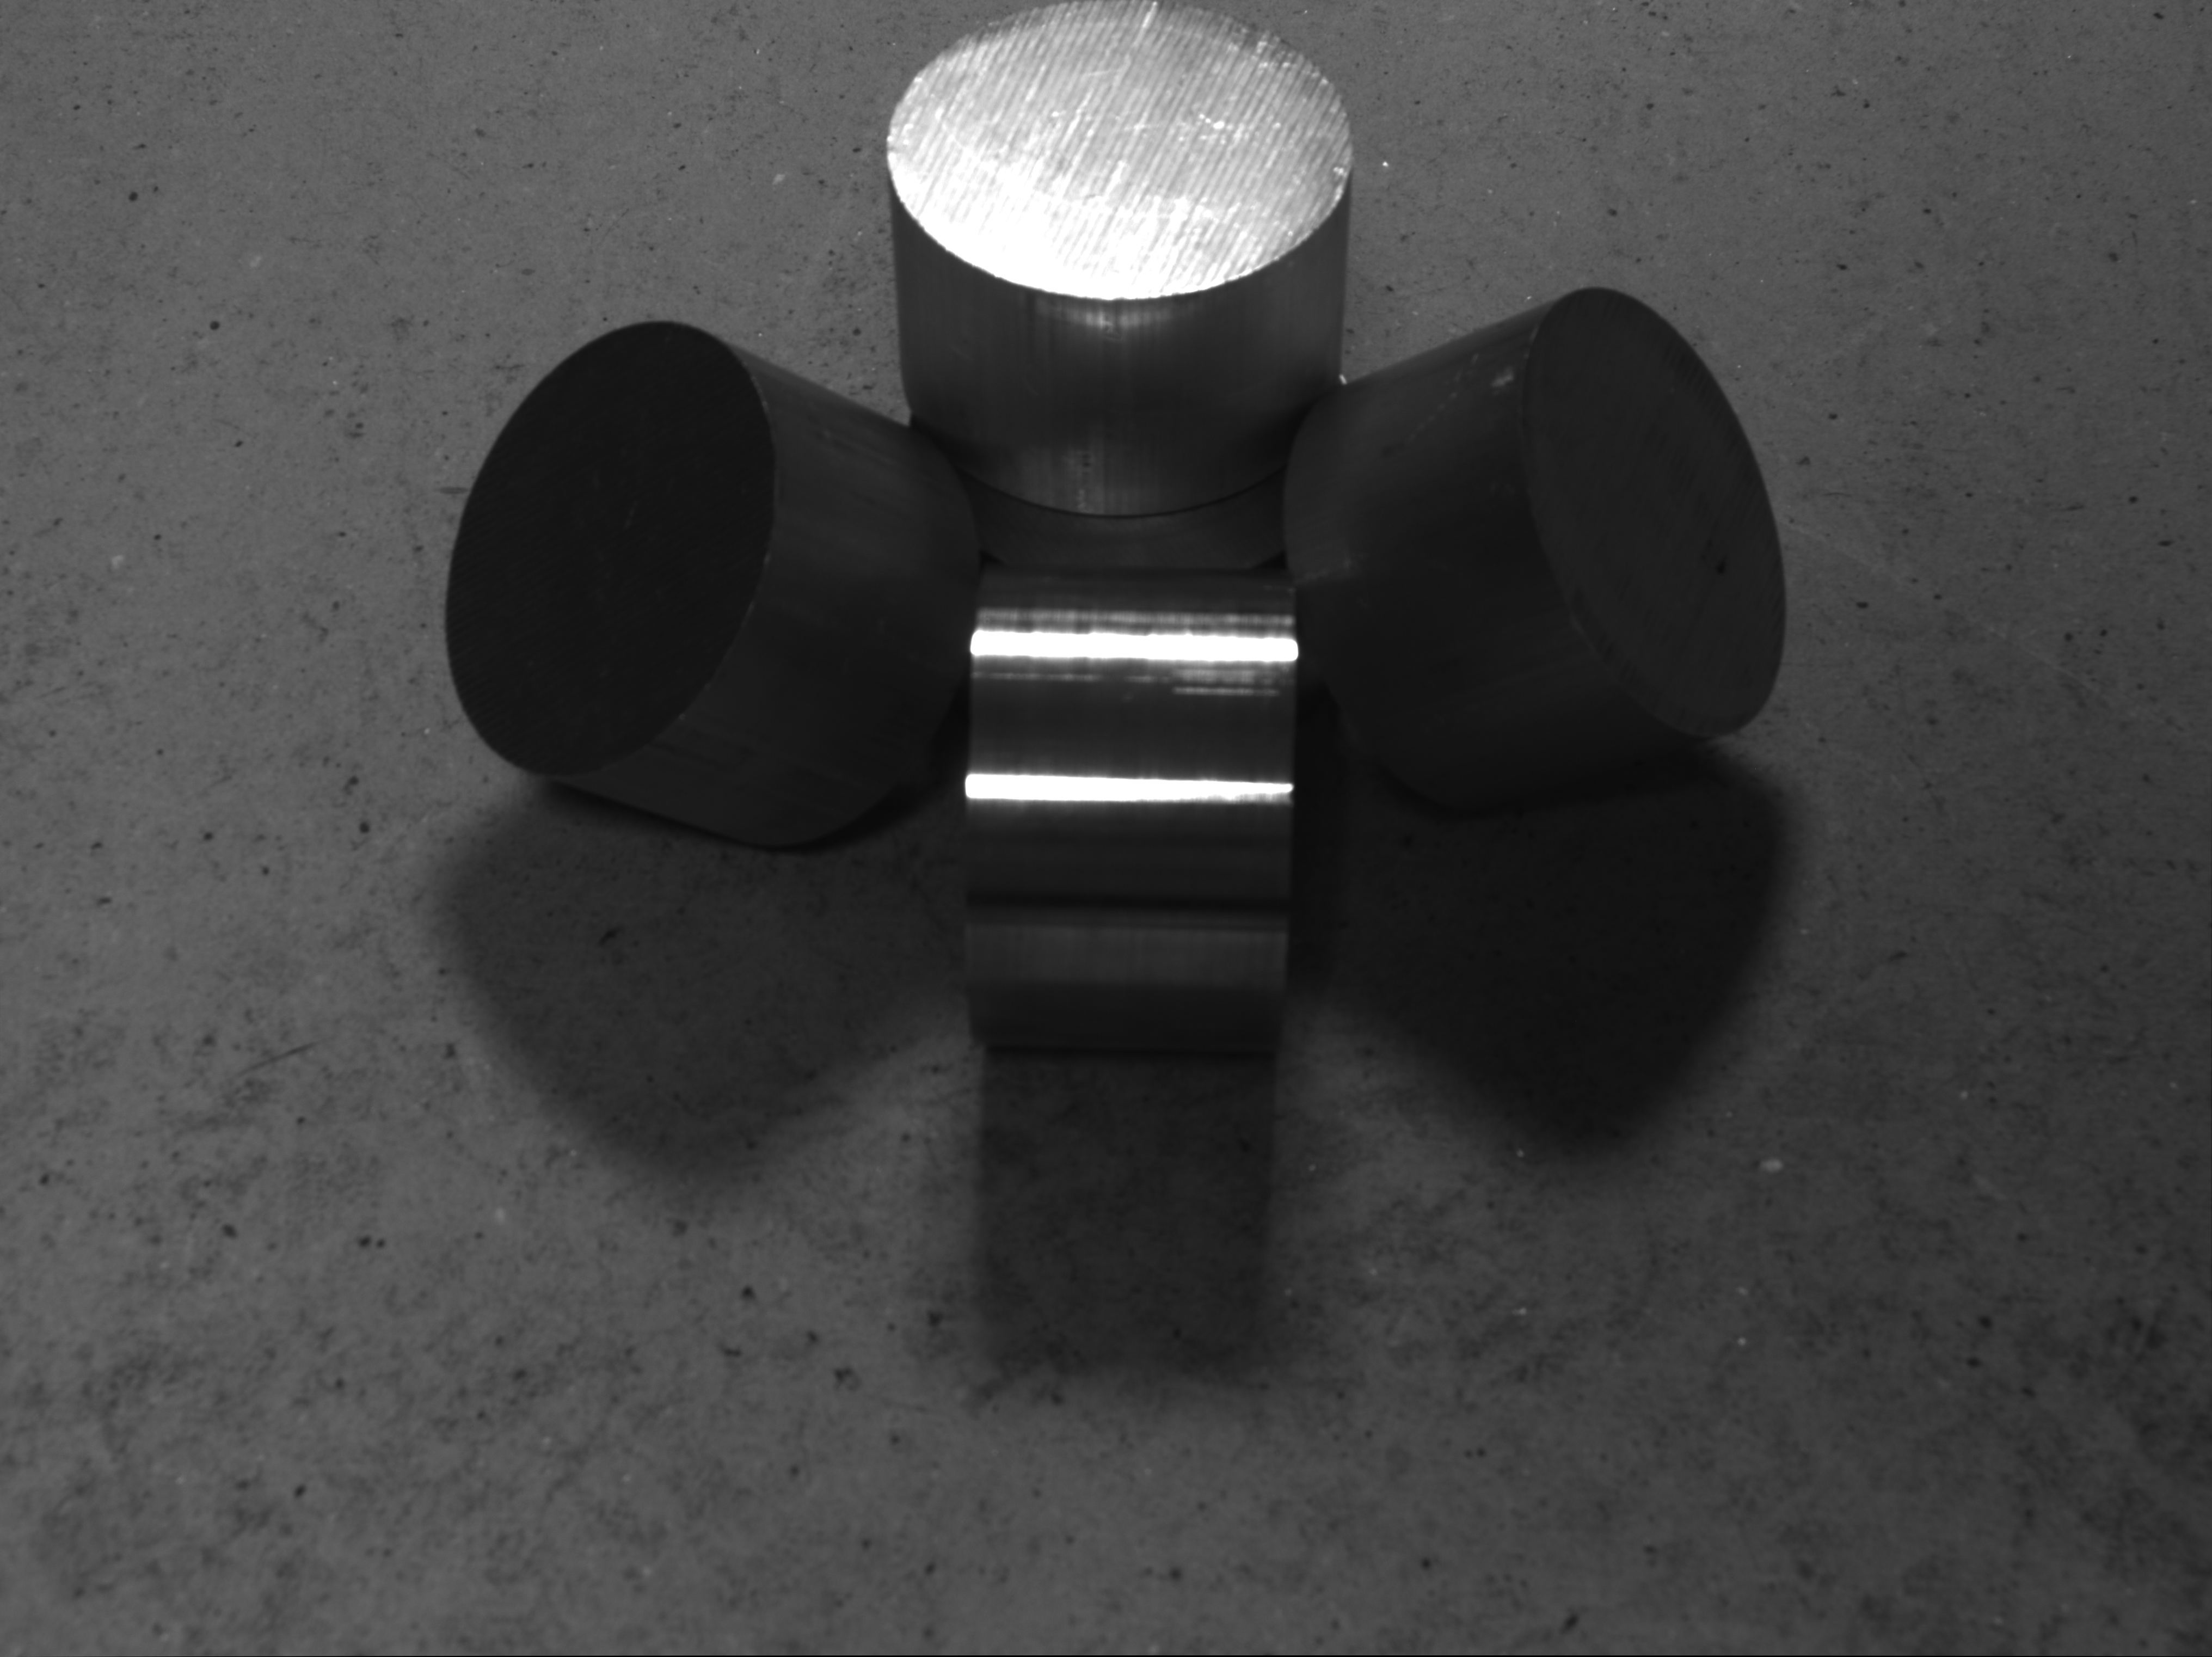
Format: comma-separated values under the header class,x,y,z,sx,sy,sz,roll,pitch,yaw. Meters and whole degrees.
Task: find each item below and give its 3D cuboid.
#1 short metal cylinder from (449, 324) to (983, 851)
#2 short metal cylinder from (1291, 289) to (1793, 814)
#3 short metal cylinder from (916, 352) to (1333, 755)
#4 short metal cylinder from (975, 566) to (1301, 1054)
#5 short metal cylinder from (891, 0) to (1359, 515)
class,x,y,z,sx,sy,sz,roll,pitch,yaw
short metal cylinder,-0.068,-0.041,0.634,0.080,0.050,0.080,-14,67,37
short metal cylinder,0.077,-0.048,0.639,0.050,0.080,0.080,-18,38,38
short metal cylinder,0.006,-0.055,0.672,0.080,0.050,0.080,0,50,0
short metal cylinder,0.006,-0.003,0.608,0.050,0.080,0.080,1,50,1
short metal cylinder,0.003,-0.101,0.645,0.080,0.050,0.080,0,50,0
